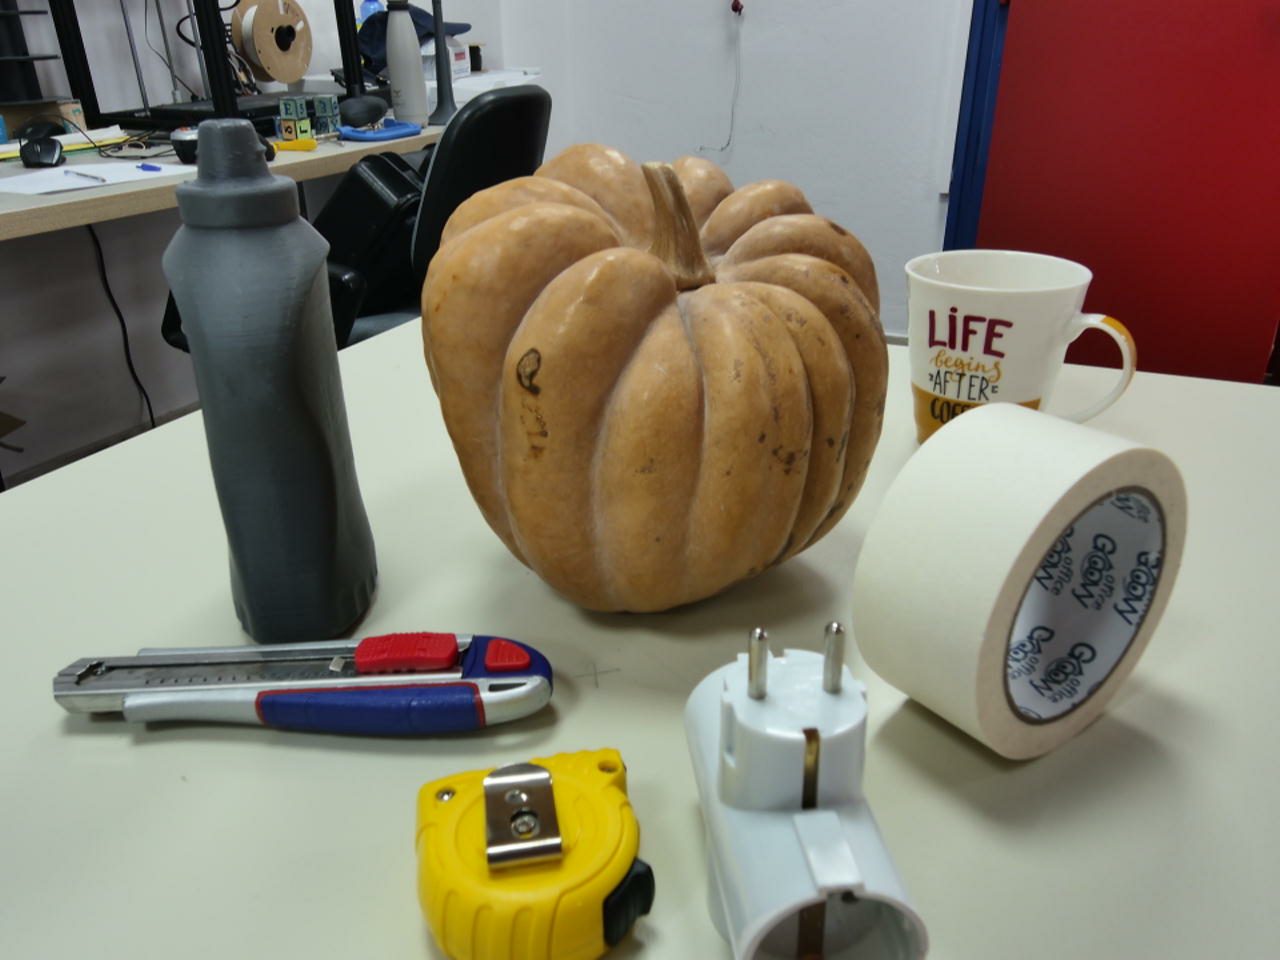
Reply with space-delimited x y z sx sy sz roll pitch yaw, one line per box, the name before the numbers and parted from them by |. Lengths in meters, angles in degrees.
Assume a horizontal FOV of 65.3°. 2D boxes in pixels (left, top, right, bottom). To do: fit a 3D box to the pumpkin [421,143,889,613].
pumpkin | 0.005 -0.043 0.416 0.199 0.177 0.198 0 24 0
